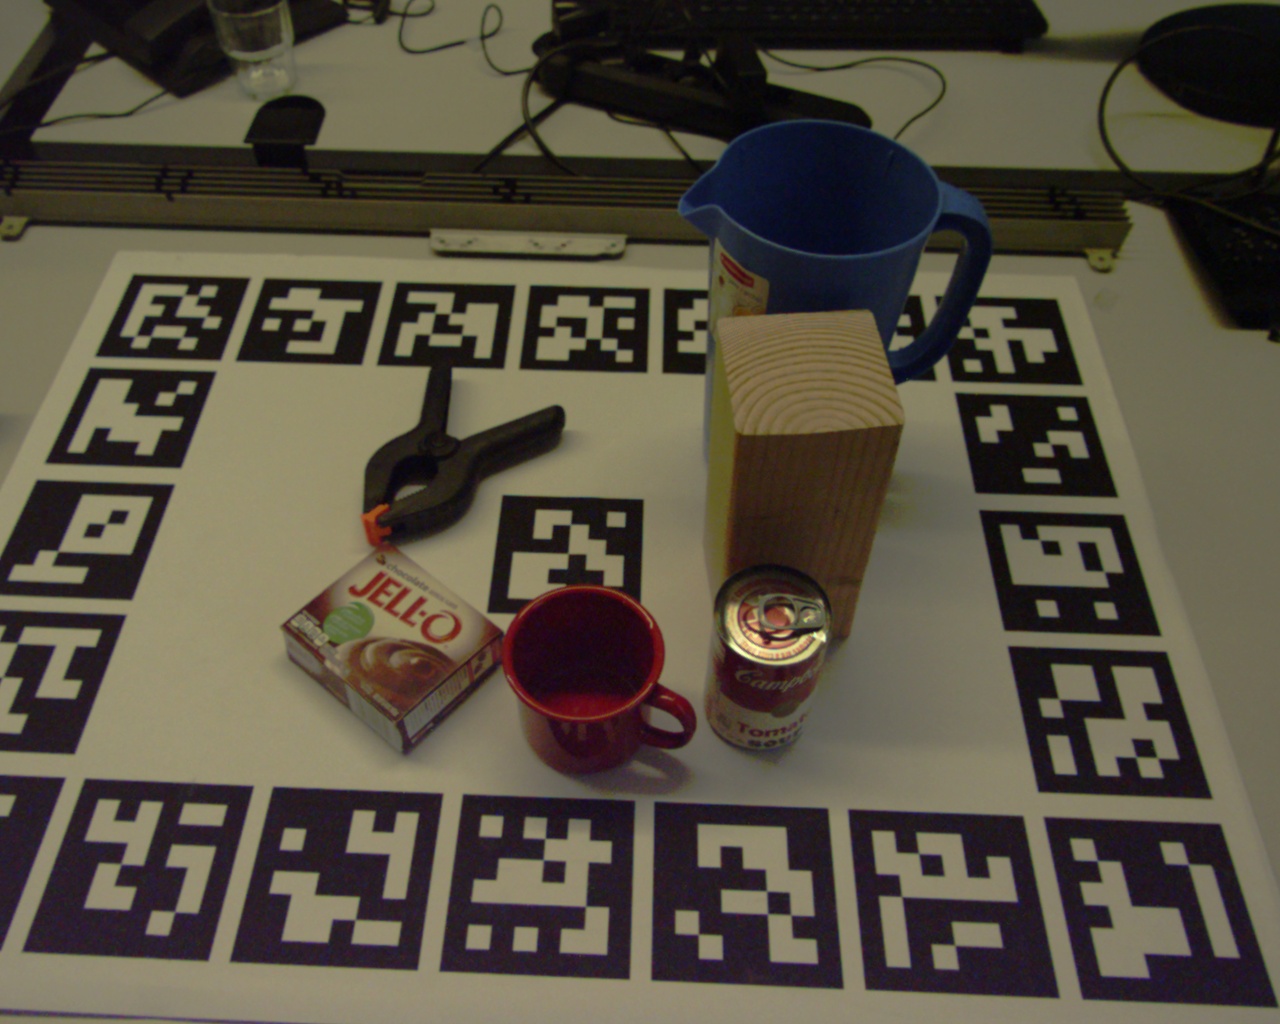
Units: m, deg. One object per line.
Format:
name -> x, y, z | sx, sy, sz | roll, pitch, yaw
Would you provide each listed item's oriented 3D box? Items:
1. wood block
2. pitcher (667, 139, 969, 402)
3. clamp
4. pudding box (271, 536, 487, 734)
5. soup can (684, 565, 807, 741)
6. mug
wood block -> 0.084, -0.013, 0.713 | 0.090, 0.206, 0.091 | 2, 51, -3
pitcher -> 0.114, -0.117, 0.777 | 0.189, 0.241, 0.133 | 0, 49, 4
clamp -> -0.144, -0.041, 0.858 | 0.122, 0.036, 0.164 | 30, 57, 14
pudding box -> -0.172, 0.080, 0.753 | 0.115, 0.038, 0.089 | 33, 61, 25
soup can -> 0.062, 0.088, 0.698 | 0.068, 0.101, 0.068 | 0, 53, 0
mug -> -0.032, 0.107, 0.698 | 0.118, 0.081, 0.092 | 31, 55, 24
